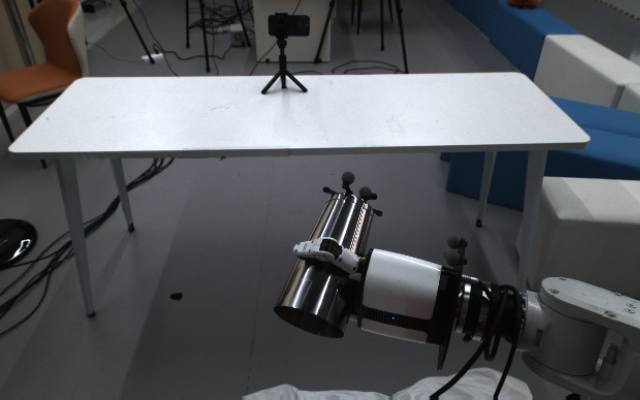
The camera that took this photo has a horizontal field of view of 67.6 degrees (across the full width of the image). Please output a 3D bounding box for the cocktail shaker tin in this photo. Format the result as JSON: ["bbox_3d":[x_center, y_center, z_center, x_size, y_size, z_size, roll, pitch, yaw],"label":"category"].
[{"bbox_3d":[0.013,0.079,0.621,0.093,0.093,0.170,14,61,17],"label":"cocktail shaker tin"}]
